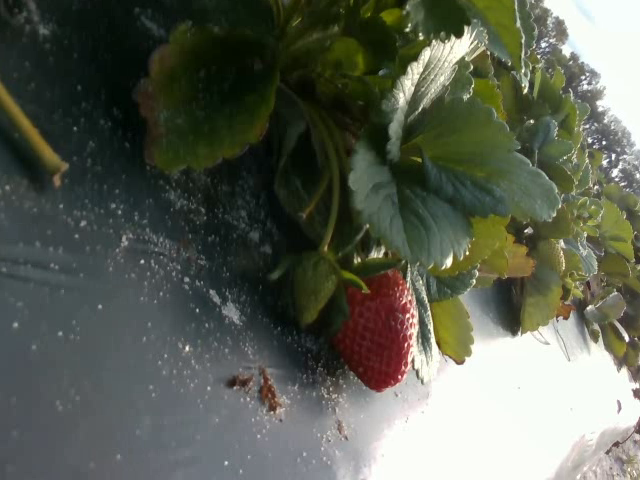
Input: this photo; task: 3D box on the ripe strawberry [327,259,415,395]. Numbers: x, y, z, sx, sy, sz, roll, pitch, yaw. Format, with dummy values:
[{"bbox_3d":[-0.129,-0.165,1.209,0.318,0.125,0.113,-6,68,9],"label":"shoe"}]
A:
[{"bbox_3d":[0.016,0.024,0.150,0.021,0.036,0.029,-23,-25,36],"label":"ripe strawberry"}]
